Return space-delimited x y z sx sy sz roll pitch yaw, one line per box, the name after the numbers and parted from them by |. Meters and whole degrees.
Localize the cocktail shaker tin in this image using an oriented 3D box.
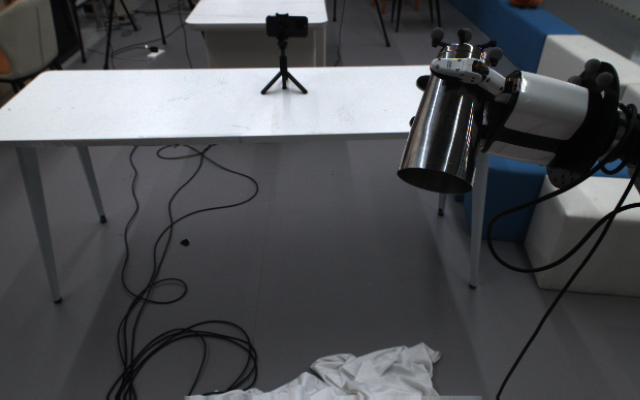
0.163 -0.105 0.603 0.093 0.093 0.170 13 79 15 | cocktail shaker tin
